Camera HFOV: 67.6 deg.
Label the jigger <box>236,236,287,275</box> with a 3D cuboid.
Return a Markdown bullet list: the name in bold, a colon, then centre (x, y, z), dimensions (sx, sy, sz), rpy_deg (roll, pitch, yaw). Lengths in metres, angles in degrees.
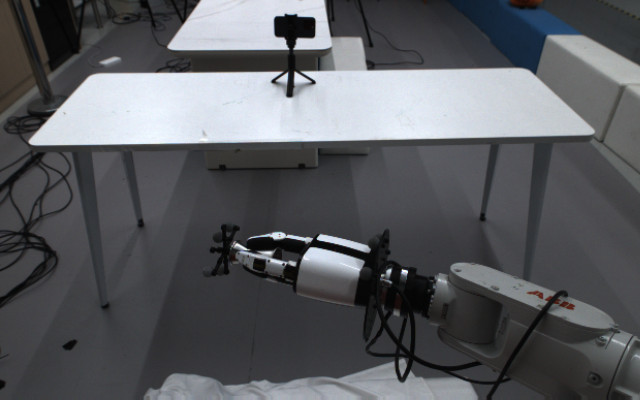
- **jigger**: centre (-0.091, 0.082, 0.722), dimensions (0.071, 0.043, 0.043), rpy_deg (10, 35, 16)
